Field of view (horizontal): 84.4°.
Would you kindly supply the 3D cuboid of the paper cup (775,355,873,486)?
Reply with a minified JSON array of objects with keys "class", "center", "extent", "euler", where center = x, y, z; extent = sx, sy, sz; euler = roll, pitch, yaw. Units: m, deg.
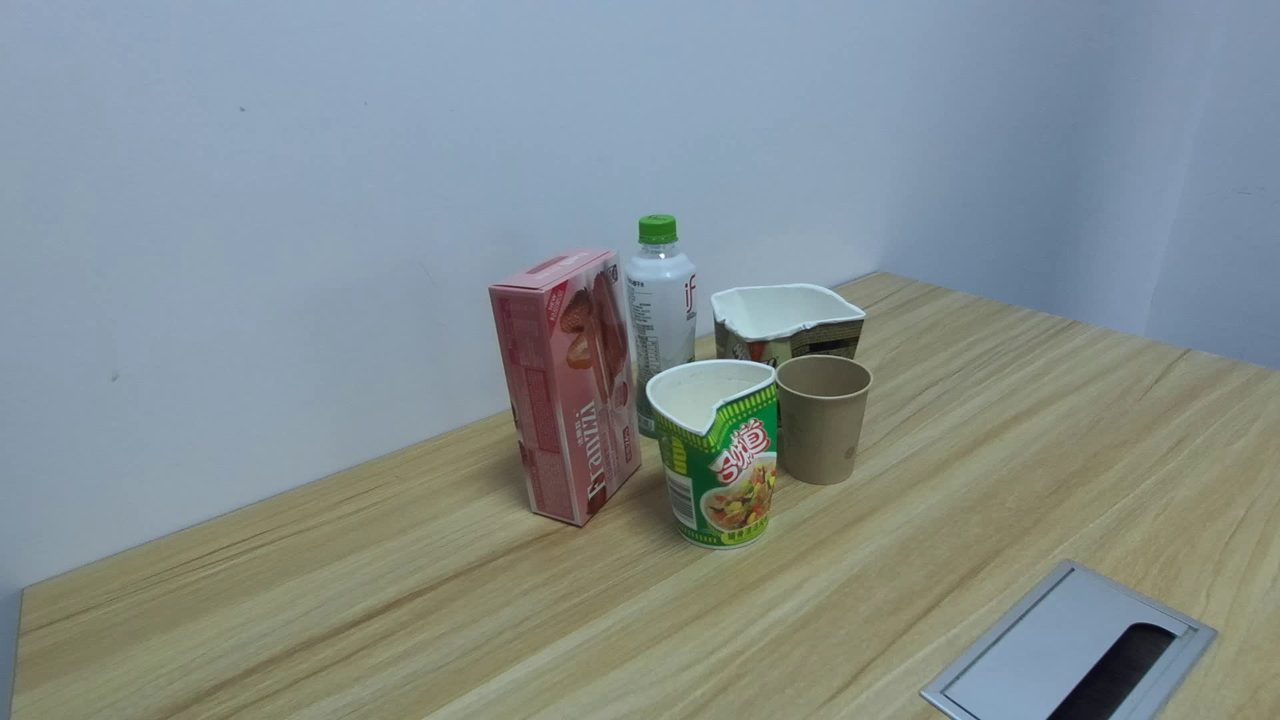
[{"class":"paper cup","center":[0.140,0.049,0.550],"extent":[0.075,0.082,0.075],"euler":[-3,24,2]}]

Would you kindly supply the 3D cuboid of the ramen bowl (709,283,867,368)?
[{"class":"ramen bowl","center":[0.123,-0.011,0.660],"extent":[0.114,0.098,0.133],"euler":[-16,29,-21]}]

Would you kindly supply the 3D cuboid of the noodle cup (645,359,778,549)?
[{"class":"noodle cup","center":[0.055,0.066,0.494],"extent":[0.094,0.109,0.086],"euler":[-18,29,-24]}]

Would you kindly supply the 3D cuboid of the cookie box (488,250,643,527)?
[{"class":"cookie box","center":[-0.048,0.020,0.528],"extent":[0.048,0.185,0.096],"euler":[7,27,29]}]

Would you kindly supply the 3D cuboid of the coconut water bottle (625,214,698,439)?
[{"class":"coconut water bottle","center":[0.021,-0.027,0.607],"extent":[0.063,0.189,0.063],"euler":[-3,22,2]}]
